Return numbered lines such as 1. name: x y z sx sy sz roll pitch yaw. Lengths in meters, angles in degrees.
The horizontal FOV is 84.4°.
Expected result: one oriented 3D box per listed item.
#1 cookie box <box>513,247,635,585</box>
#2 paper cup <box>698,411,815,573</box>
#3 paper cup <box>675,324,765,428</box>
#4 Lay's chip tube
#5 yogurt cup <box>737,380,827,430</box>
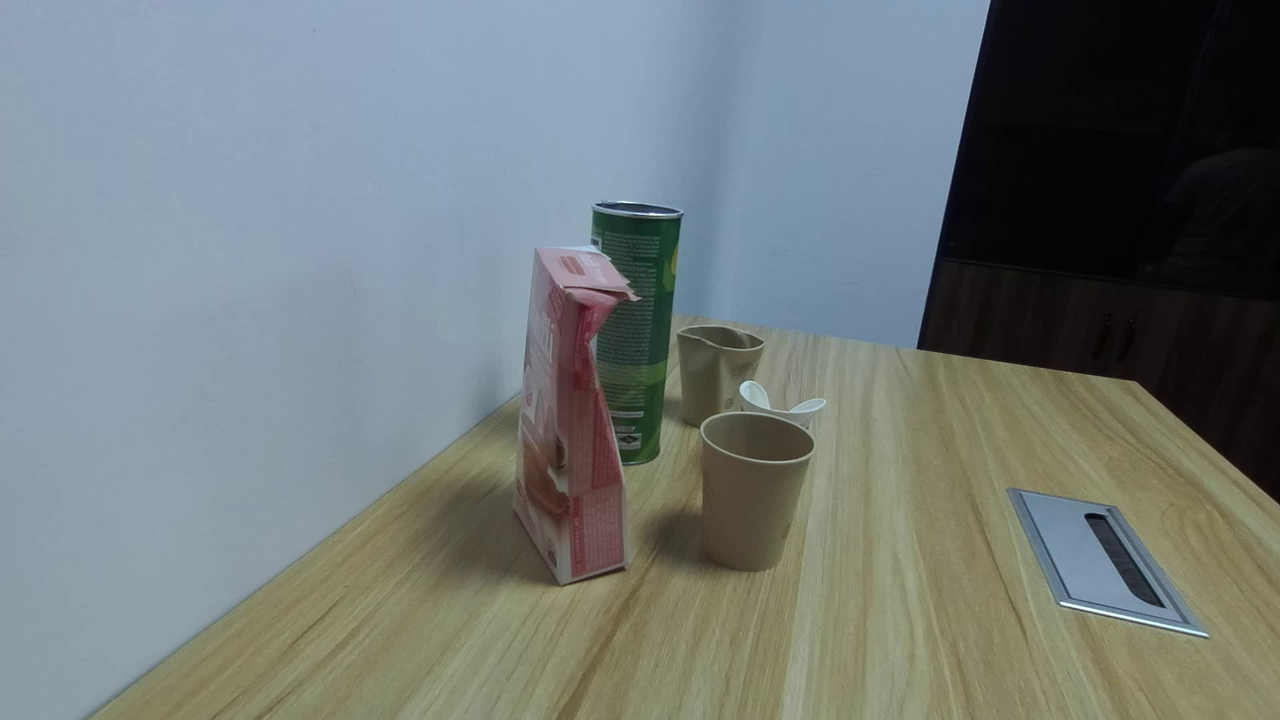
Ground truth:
1. cookie box: -0.039 0.031 0.435 0.056 0.184 0.118 -2 21 -20
2. paper cup: 0.070 0.086 0.456 0.075 0.082 0.075 5 19 -1
3. paper cup: 0.072 0.016 0.660 0.066 0.084 0.071 -9 23 -41
4. Lay's chip tube: -0.009 -0.021 0.566 0.071 0.202 0.071 5 18 -1
5. yogurt cup: 0.109 0.059 0.566 0.067 0.070 0.067 6 20 -2
